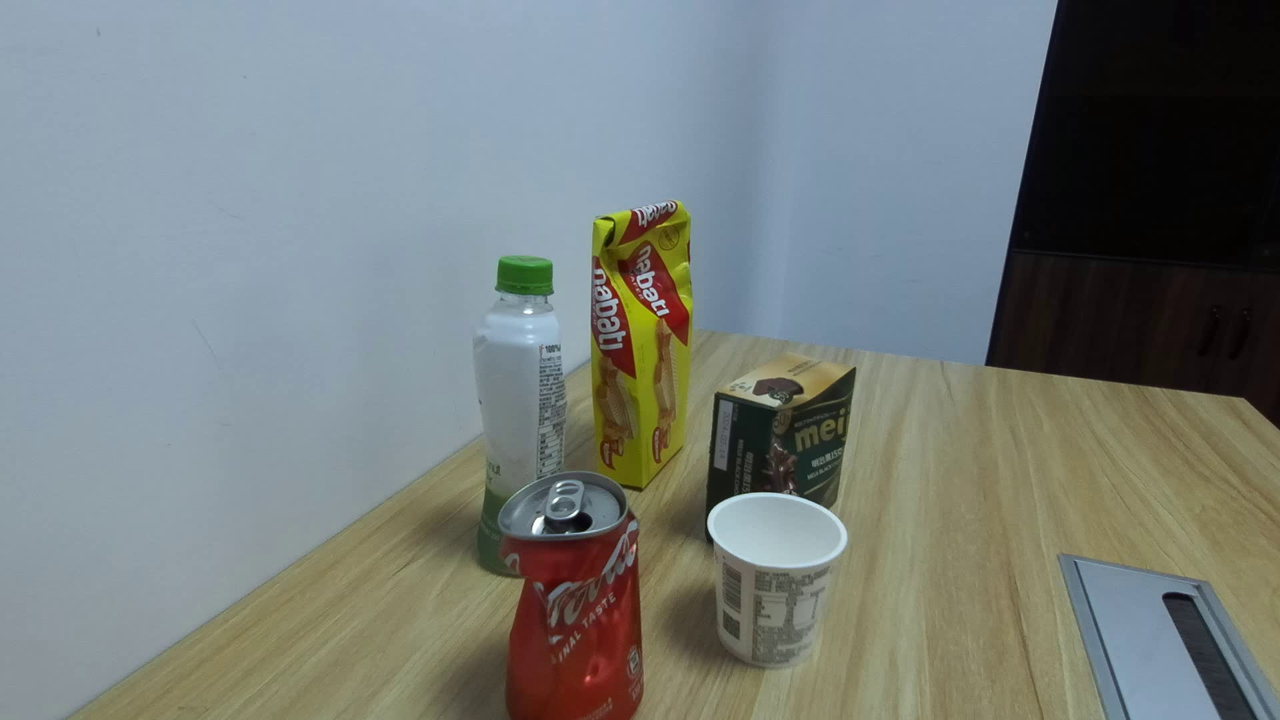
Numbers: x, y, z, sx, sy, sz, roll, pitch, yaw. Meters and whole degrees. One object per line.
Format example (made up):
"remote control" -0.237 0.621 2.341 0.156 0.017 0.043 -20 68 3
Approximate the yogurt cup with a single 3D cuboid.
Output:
"yogurt cup" 0.069 0.117 0.372 0.072 0.068 0.072 1 20 0

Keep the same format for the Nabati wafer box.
"Nabati wafer box" 0.004 -0.012 0.538 0.042 0.205 0.113 8 21 24

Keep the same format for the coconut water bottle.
"coconut water bottle" -0.070 0.033 0.426 0.069 0.187 0.069 1 16 0

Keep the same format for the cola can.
"cola can" -0.030 0.117 0.330 0.065 0.112 0.069 19 25 41
